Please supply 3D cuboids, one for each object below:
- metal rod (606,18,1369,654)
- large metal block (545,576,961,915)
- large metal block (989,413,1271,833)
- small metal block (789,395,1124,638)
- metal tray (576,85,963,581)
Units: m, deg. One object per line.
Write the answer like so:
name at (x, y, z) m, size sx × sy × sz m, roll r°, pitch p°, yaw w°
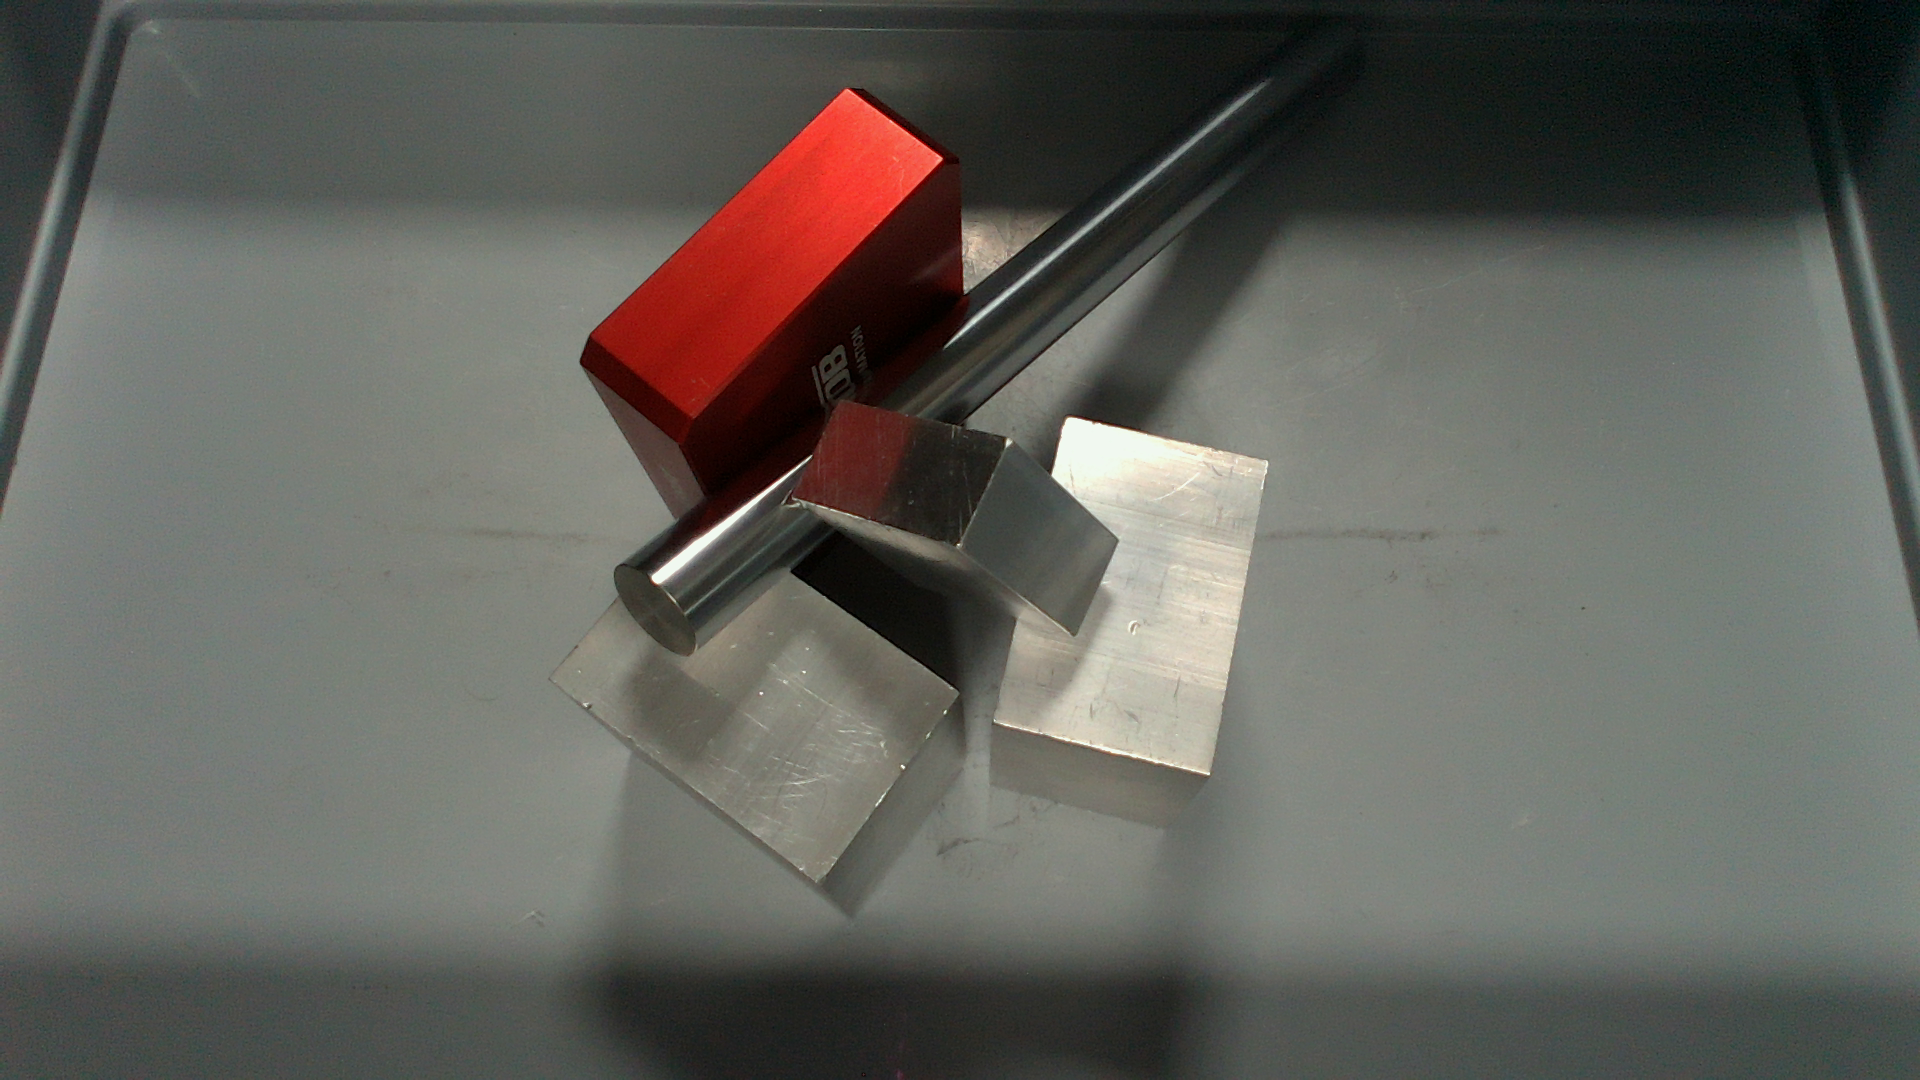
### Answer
metal rod at (0.028, -0.072, 0.372) m, size 0.025 × 0.025 × 0.301 m, roll 39°, pitch 58°, yaw 13°
large metal block at (-0.047, 0.047, 0.349) m, size 0.080 × 0.080 × 0.050 m, roll 35°, pitch 74°, yaw 12°
large metal block at (0.041, 0.025, 0.356) m, size 0.050 × 0.080 × 0.080 m, roll 13°, pitch 70°, yaw 5°
small metal block at (0.000, -0.005, 0.303) m, size 0.050 × 0.050 × 0.025 m, roll 17°, pitch 77°, yaw 40°
metal tray at (-0.039, -0.041, 0.352) m, size 0.030 × 0.130 × 0.090 m, roll 38°, pitch 75°, yaw 14°
